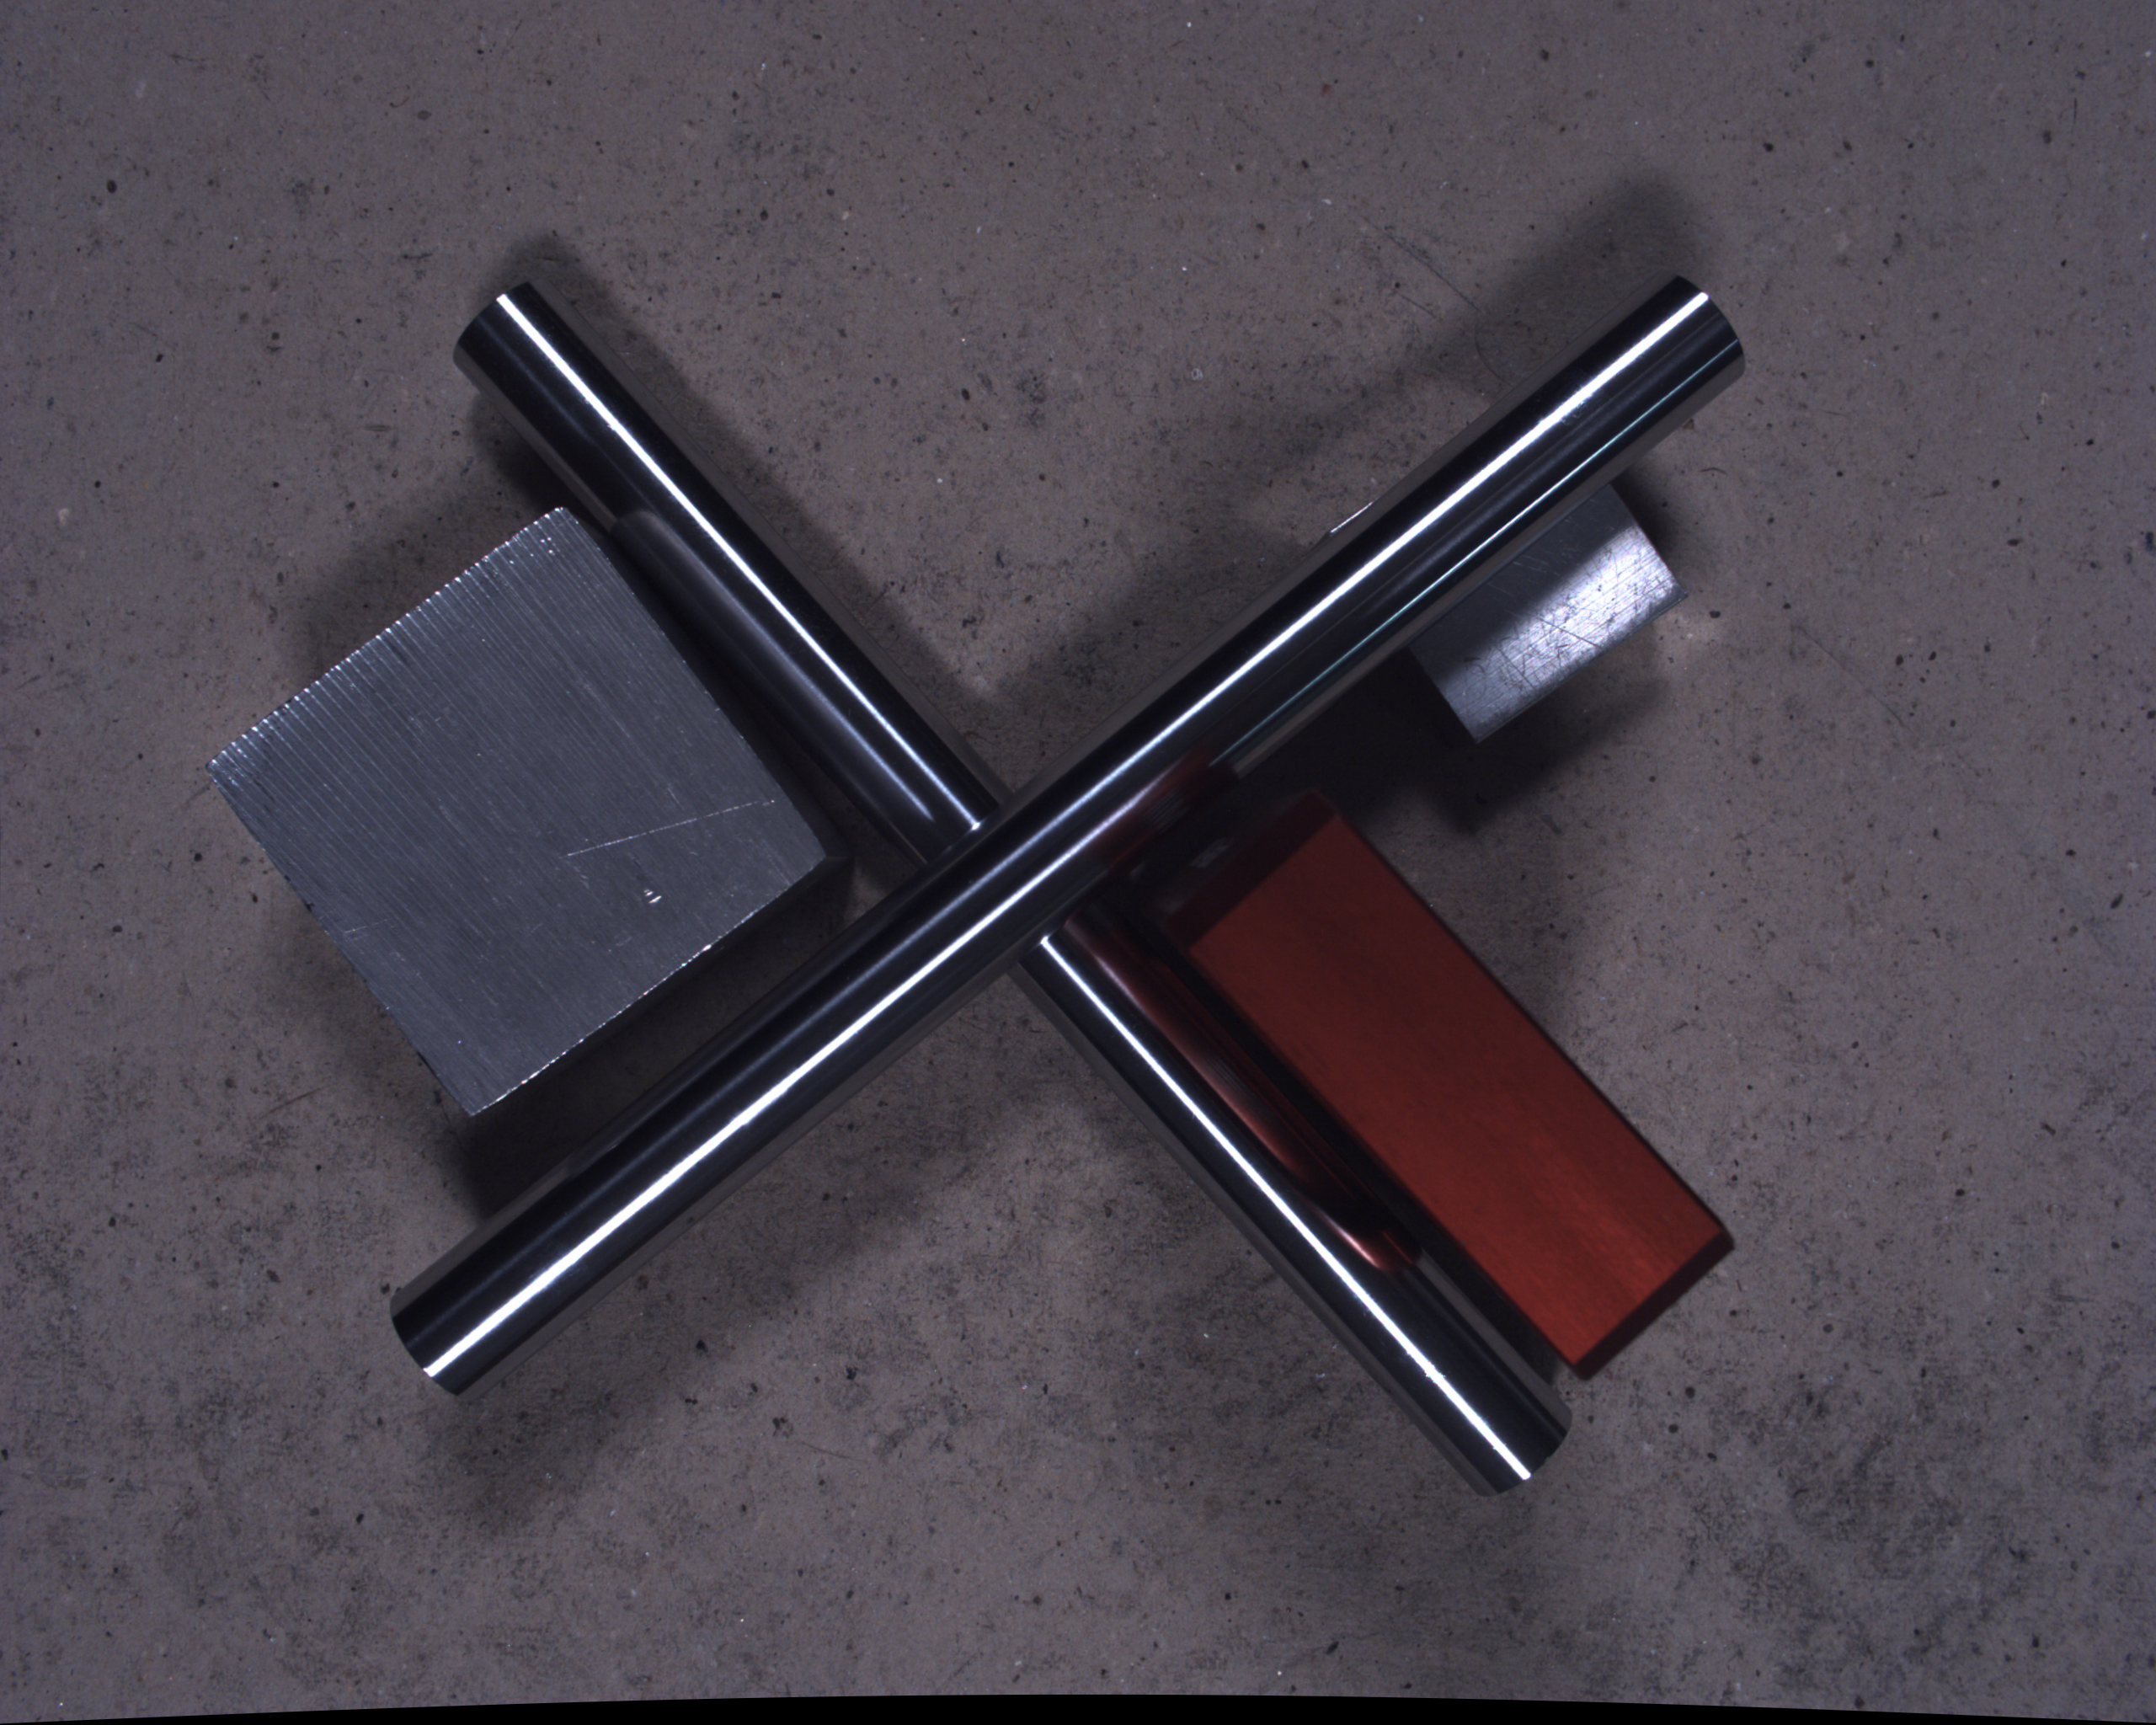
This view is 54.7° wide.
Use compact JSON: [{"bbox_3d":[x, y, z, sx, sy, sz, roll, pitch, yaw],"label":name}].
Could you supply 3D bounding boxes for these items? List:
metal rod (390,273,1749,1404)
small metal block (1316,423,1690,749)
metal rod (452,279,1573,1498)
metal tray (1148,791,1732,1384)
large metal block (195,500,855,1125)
[{"bbox_3d":[-0.001,-0.005,0.386,0.300,0.025,0.025,-39,91,-1],"label":"metal rod"},{"bbox_3d":[0.082,-0.057,0.412,0.050,0.025,0.050,-35,90,0],"label":"small metal block"},{"bbox_3d":[-0.012,0.006,0.411,0.025,0.025,0.300,-42,91,0],"label":"metal rod"},{"bbox_3d":[0.053,0.032,0.359,0.030,0.130,0.090,-43,90,1],"label":"metal tray"},{"bbox_3d":[-0.101,-0.009,0.396,0.080,0.050,0.080,-37,90,0],"label":"large metal block"}]
